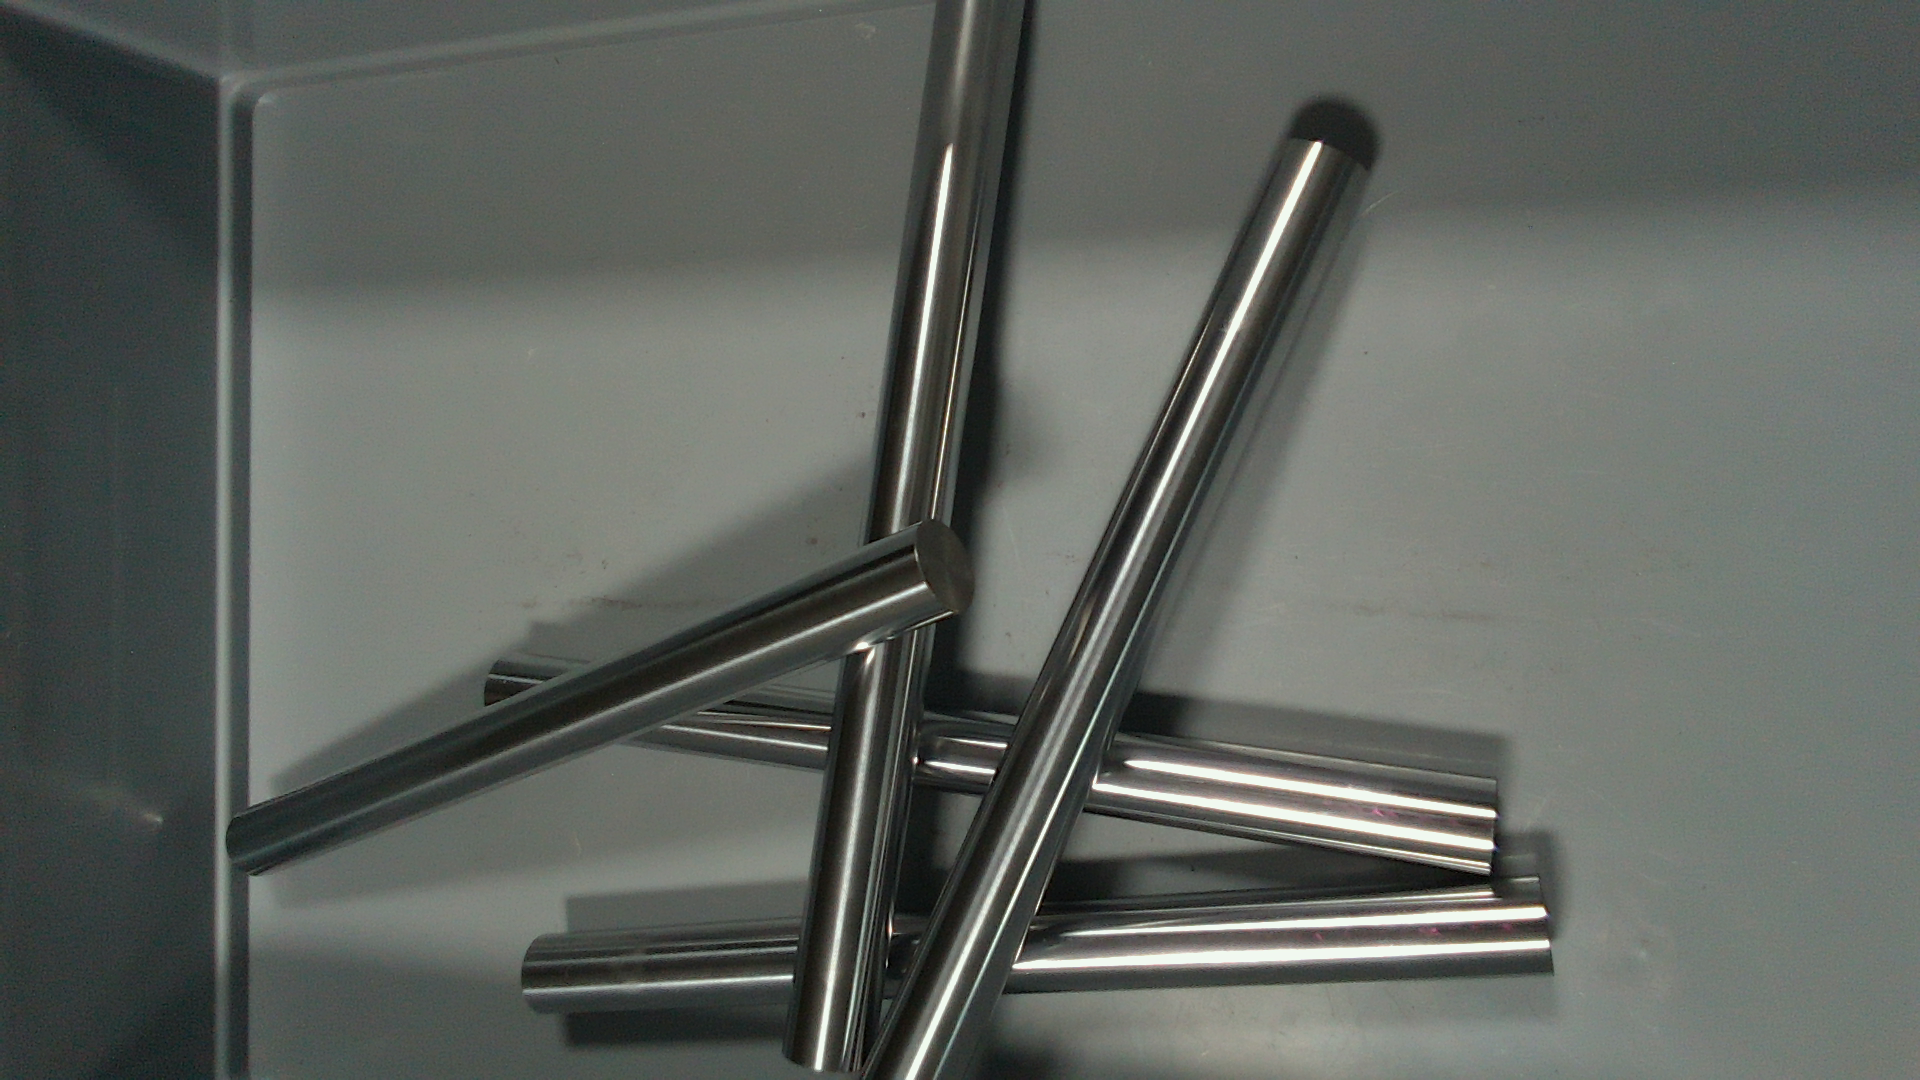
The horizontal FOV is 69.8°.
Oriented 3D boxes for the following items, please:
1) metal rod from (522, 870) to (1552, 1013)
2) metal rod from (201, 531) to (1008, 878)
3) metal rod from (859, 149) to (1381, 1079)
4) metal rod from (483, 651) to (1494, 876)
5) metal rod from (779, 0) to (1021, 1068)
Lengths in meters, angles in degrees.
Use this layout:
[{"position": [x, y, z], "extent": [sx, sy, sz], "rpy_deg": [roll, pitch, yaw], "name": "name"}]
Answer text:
[{"position": [0.006, 0.117, 0.393], "extent": [0.299, 0.025, 0.025], "rpy_deg": [-9, 87, 20], "name": "metal rod"}, {"position": [-0.122, 0.057, 0.412], "extent": [0.299, 0.025, 0.025], "rpy_deg": [-20, 83, 24], "name": "metal rod"}, {"position": [0.035, 0.040, 0.361], "extent": [0.025, 0.025, 0.300], "rpy_deg": [25, 91, 18], "name": "metal rod"}, {"position": [-0.007, 0.060, 0.397], "extent": [0.299, 0.025, 0.025], "rpy_deg": [5, 92, 20], "name": "metal rod"}, {"position": [-0.015, -0.010, 0.382], "extent": [0.025, 0.025, 0.300], "rpy_deg": [7, 86, 20], "name": "metal rod"}]
